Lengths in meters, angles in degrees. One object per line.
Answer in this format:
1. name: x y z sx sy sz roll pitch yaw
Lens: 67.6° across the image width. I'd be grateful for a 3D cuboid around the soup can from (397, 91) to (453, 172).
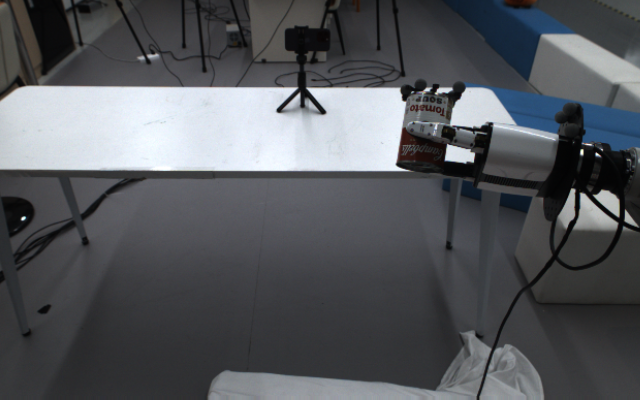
1. soup can: 0.150 -0.097 0.691 0.067 0.101 0.067 9 -5 1
